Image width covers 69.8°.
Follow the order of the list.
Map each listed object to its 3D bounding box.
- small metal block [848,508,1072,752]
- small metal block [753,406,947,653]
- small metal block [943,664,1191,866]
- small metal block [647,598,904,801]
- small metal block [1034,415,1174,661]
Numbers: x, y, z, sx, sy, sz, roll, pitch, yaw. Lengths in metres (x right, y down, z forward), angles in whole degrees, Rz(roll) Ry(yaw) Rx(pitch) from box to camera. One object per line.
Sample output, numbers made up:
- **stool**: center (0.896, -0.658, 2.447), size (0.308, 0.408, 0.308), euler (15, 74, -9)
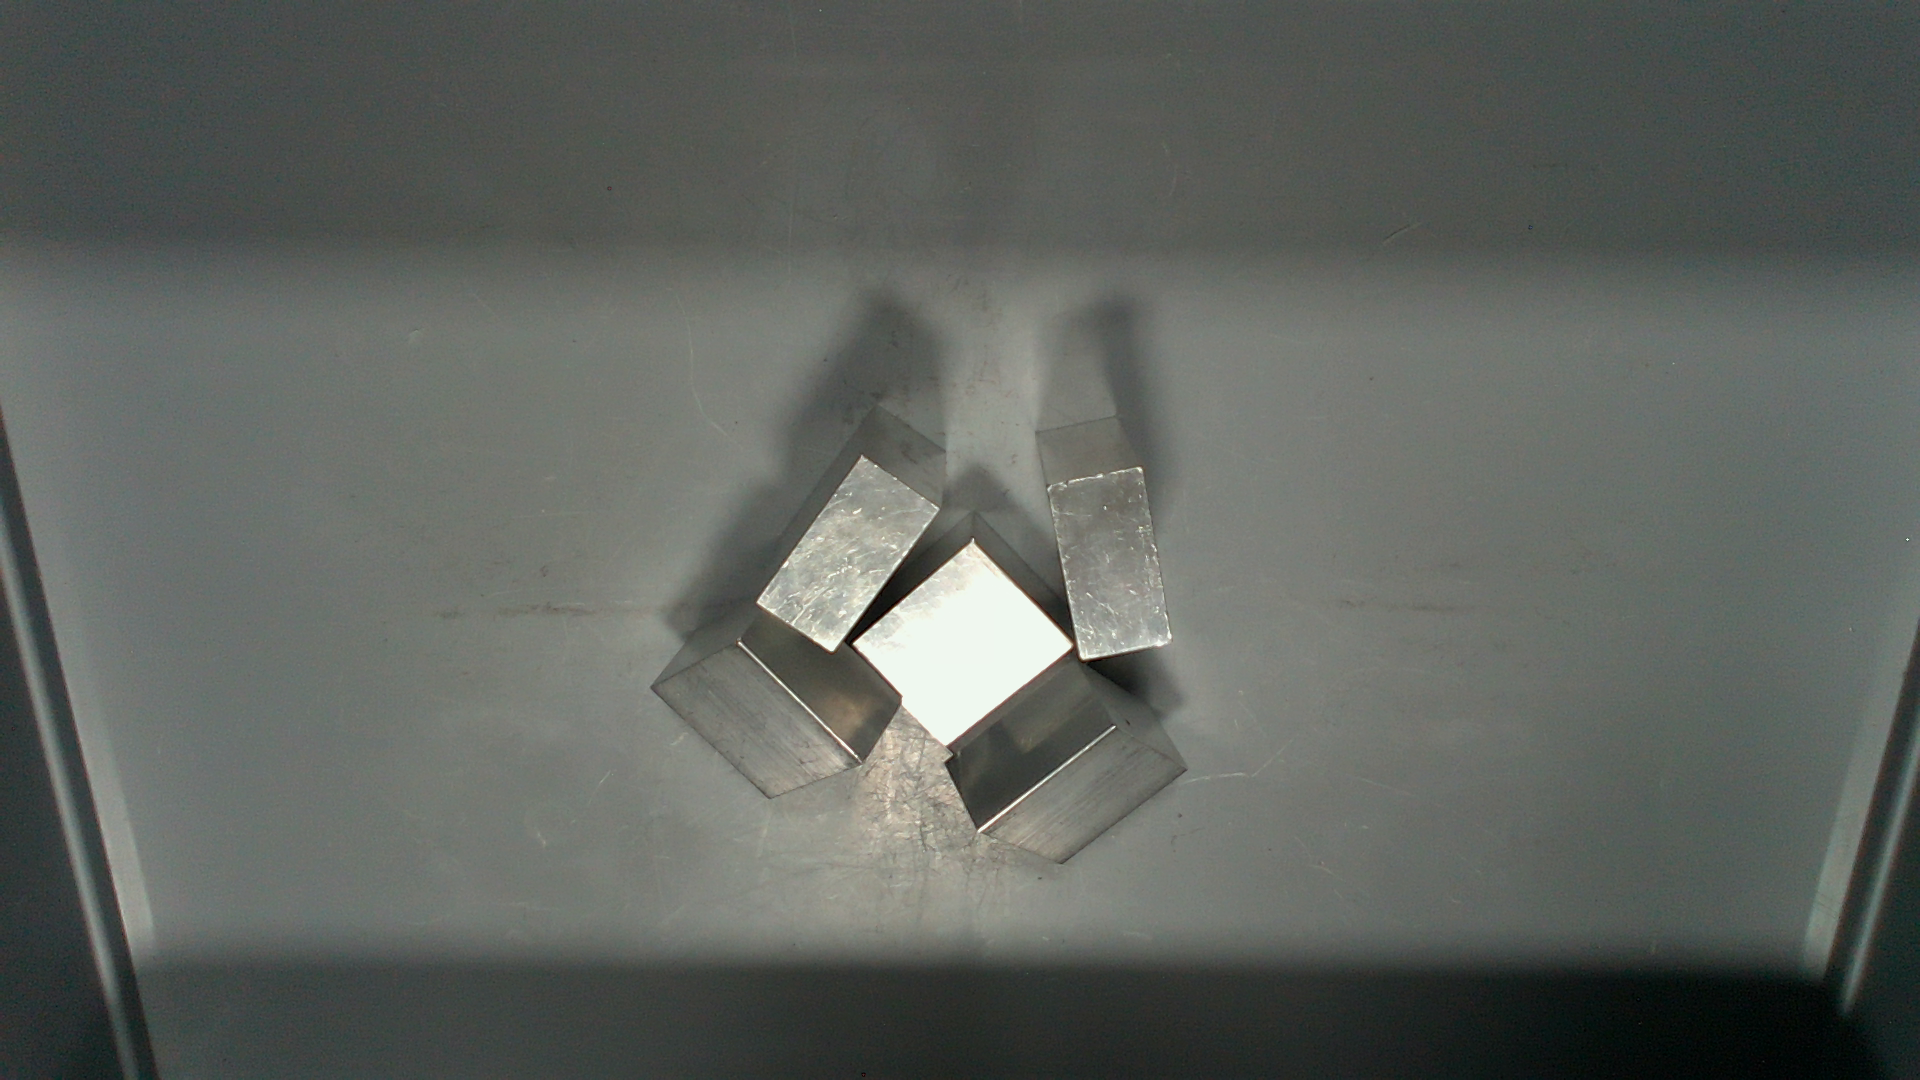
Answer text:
- **small metal block**: center (0.002, 0.028, 0.402), size (0.050, 0.025, 0.050), euler (-40, 105, 13)
- **small metal block**: center (-0.029, -0.005, 0.377), size (0.025, 0.050, 0.050), euler (35, 107, -11)
- **small metal block**: center (0.032, 0.066, 0.404), size (0.050, 0.025, 0.050), euler (-40, 142, 13)
- **small metal block**: center (-0.053, 0.045, 0.397), size (0.050, 0.025, 0.050), euler (47, 137, -15)
- **small metal block**: center (0.039, -0.002, 0.378), size (0.025, 0.050, 0.050), euler (-11, 110, 3)
